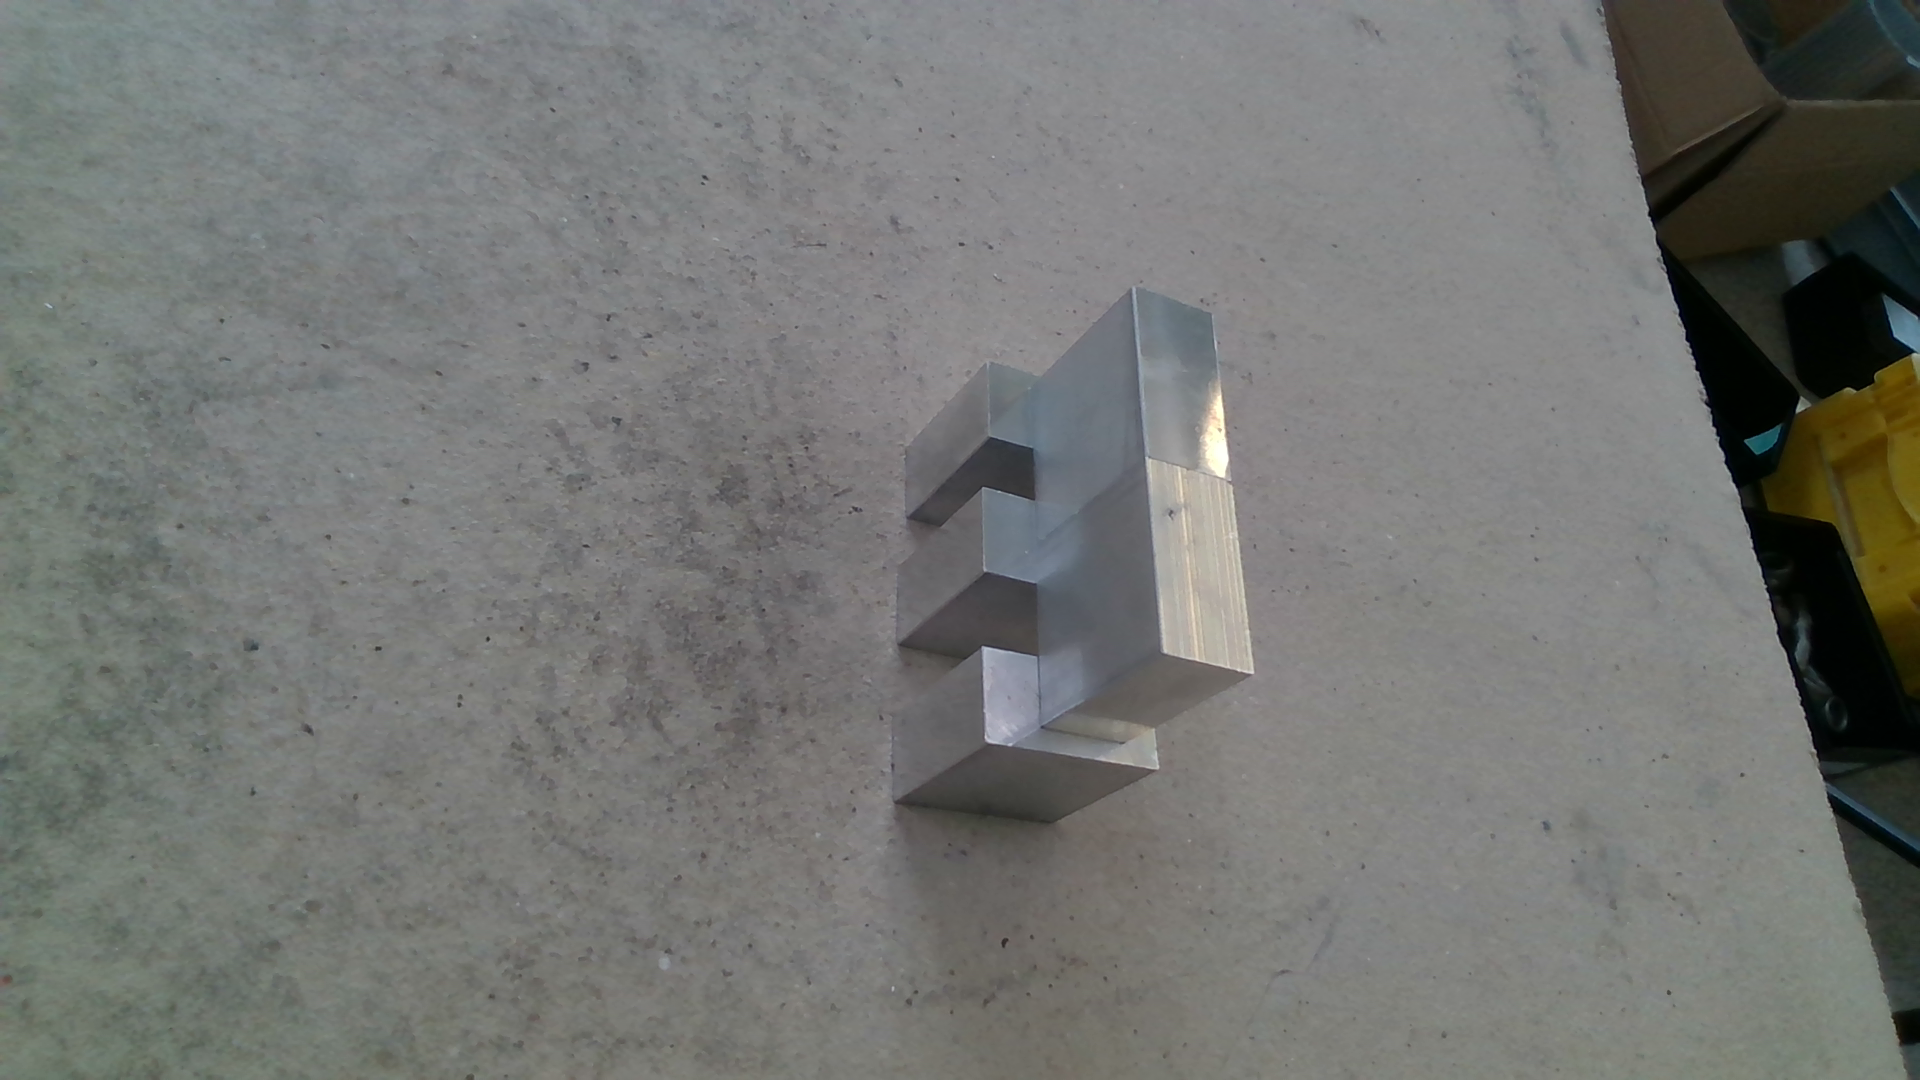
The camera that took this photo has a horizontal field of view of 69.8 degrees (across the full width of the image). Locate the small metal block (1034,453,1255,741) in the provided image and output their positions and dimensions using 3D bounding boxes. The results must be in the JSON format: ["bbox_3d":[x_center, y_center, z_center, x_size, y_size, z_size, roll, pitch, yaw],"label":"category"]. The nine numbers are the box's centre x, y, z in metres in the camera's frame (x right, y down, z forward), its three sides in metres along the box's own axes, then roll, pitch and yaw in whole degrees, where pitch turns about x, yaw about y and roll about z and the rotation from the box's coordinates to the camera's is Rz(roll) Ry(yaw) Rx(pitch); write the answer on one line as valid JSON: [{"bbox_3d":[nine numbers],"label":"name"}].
[{"bbox_3d":[0.042,0.015,0.330,0.025,0.050,0.050,14,59,-25],"label":"small metal block"}]

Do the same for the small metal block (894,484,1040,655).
[{"bbox_3d":[0.015,0.012,0.381,0.050,0.050,0.025,13,58,-26],"label":"small metal block"}]

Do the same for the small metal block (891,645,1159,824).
[{"bbox_3d":[0.015,0.052,0.359,0.050,0.050,0.025,13,58,-26],"label":"small metal block"}]

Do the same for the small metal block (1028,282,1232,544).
[{"bbox_3d":[0.042,-0.029,0.354,0.025,0.050,0.050,14,59,-25],"label":"small metal block"}]

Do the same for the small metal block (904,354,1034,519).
[{"bbox_3d":[0.017,-0.024,0.400,0.050,0.050,0.025,14,58,-26],"label":"small metal block"}]
